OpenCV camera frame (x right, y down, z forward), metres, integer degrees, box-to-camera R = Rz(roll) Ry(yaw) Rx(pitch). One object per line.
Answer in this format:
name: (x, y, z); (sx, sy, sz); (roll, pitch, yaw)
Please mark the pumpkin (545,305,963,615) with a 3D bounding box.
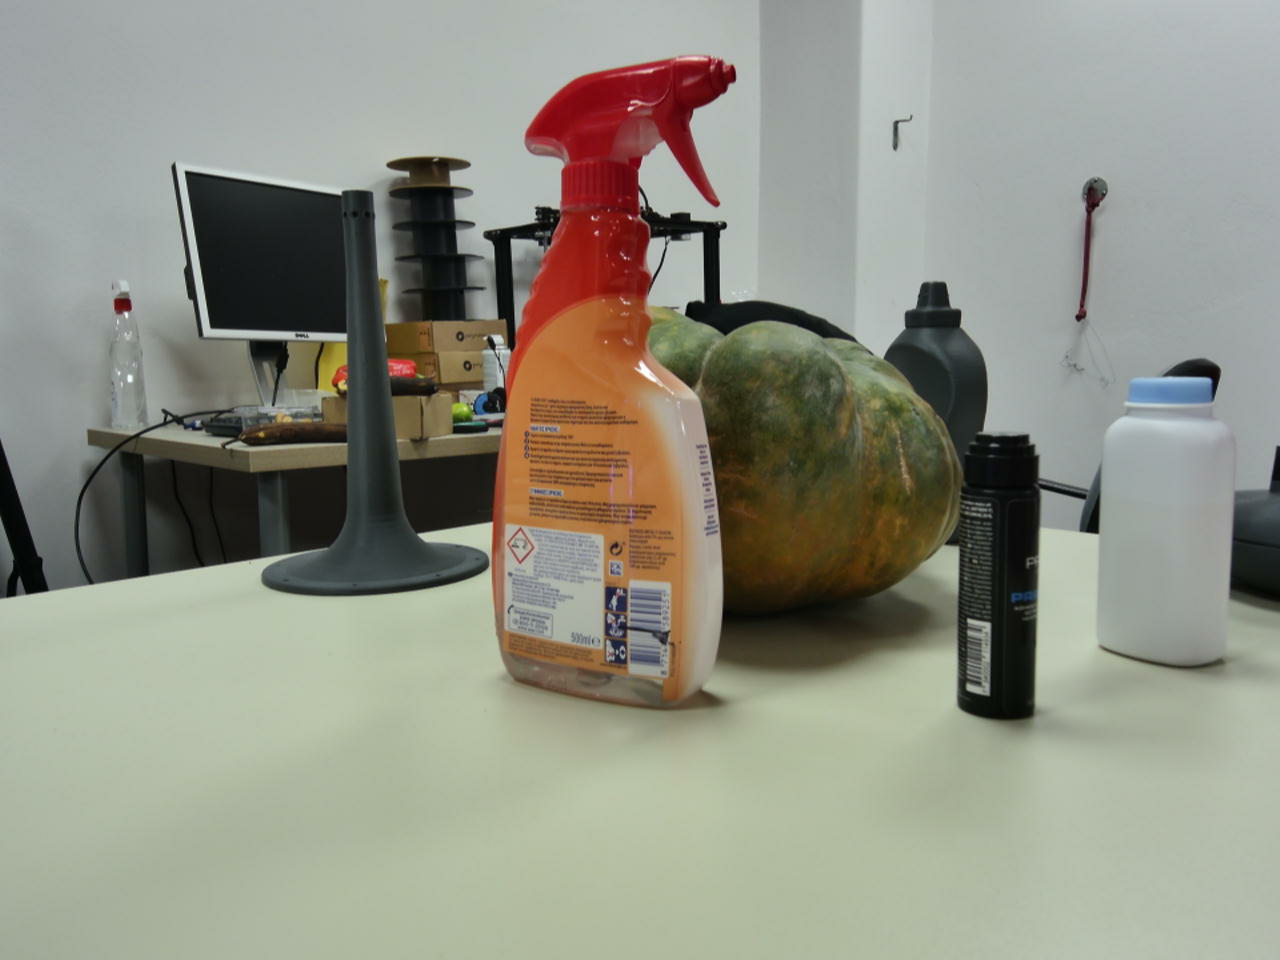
pumpkin: (0.065, -0.015, 0.593); (0.237, 0.173, 0.270); (0, 5, -5)
